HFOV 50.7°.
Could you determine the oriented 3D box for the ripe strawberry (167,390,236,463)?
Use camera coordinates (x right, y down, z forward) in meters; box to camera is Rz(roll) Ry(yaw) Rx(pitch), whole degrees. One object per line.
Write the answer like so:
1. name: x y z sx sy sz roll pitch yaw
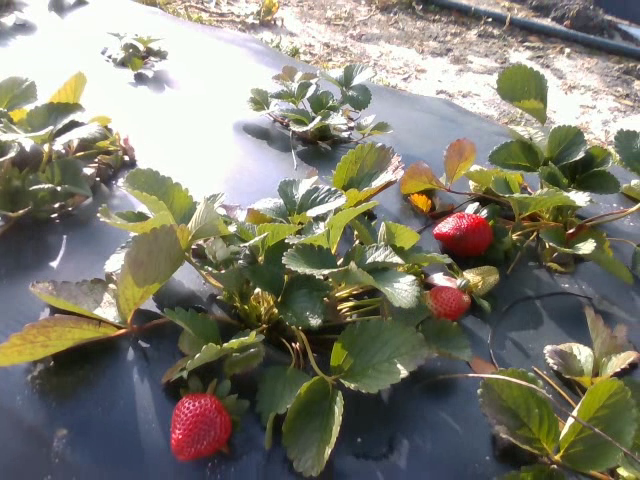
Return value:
1. ripe strawberry: -0.067 0.104 0.355 0.041 0.041 0.047 -5 16 25
